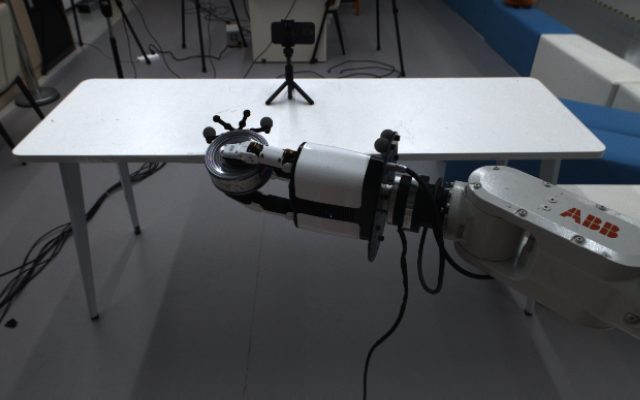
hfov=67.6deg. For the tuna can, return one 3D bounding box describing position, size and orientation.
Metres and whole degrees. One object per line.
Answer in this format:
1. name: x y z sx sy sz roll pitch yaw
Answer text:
1. tuna can: -0.101 -0.044 0.630 0.085 0.034 0.085 -3 61 5
